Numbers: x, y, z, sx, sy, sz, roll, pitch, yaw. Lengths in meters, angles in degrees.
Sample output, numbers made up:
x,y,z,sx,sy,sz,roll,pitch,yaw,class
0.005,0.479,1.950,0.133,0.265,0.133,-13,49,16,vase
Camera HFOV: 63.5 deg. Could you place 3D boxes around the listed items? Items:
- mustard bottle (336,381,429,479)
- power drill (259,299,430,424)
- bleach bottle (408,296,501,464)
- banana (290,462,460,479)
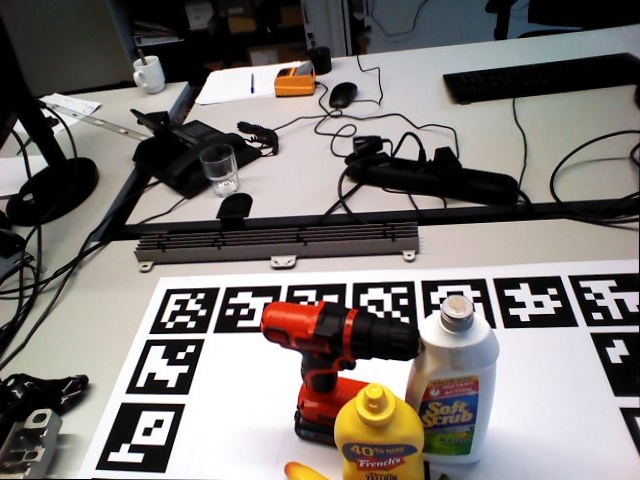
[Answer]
x,y,z,sx,sy,sz,roll,pitch,yaw,class
0.067,0.206,0.548,0.096,0.192,0.058,-2,43,10,mustard bottle
0.031,0.145,0.593,0.185,0.187,0.057,7,44,18,power drill
0.138,0.146,0.561,0.103,0.251,0.067,-1,37,12,bleach bottle
0.057,0.290,0.588,0.198,0.039,0.074,-1,44,16,banana
